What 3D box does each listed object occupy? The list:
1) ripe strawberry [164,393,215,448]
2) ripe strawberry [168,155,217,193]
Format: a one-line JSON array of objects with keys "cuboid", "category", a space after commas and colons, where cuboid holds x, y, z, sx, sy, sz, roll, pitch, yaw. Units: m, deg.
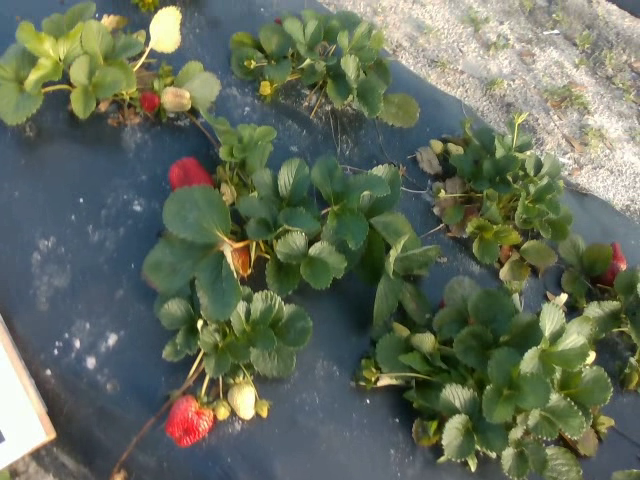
[{"cuboid": [-0.146, 0.193, 0.634, 0.047, 0.050, 0.035, 39, -9, 6], "category": "ripe strawberry"}, {"cuboid": [-0.169, -0.075, 0.763, 0.058, 0.071, 0.057, -20, 18, 0], "category": "ripe strawberry"}]
